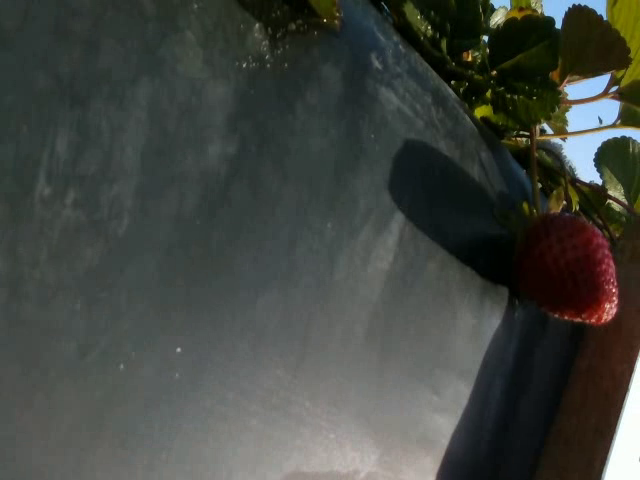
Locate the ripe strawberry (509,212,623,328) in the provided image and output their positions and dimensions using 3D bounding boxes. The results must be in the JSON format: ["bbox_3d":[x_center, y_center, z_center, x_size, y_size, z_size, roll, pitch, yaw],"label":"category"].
[{"bbox_3d":[0.061,0.010,0.148,0.034,0.033,0.038,41,12,-21],"label":"ripe strawberry"}]
